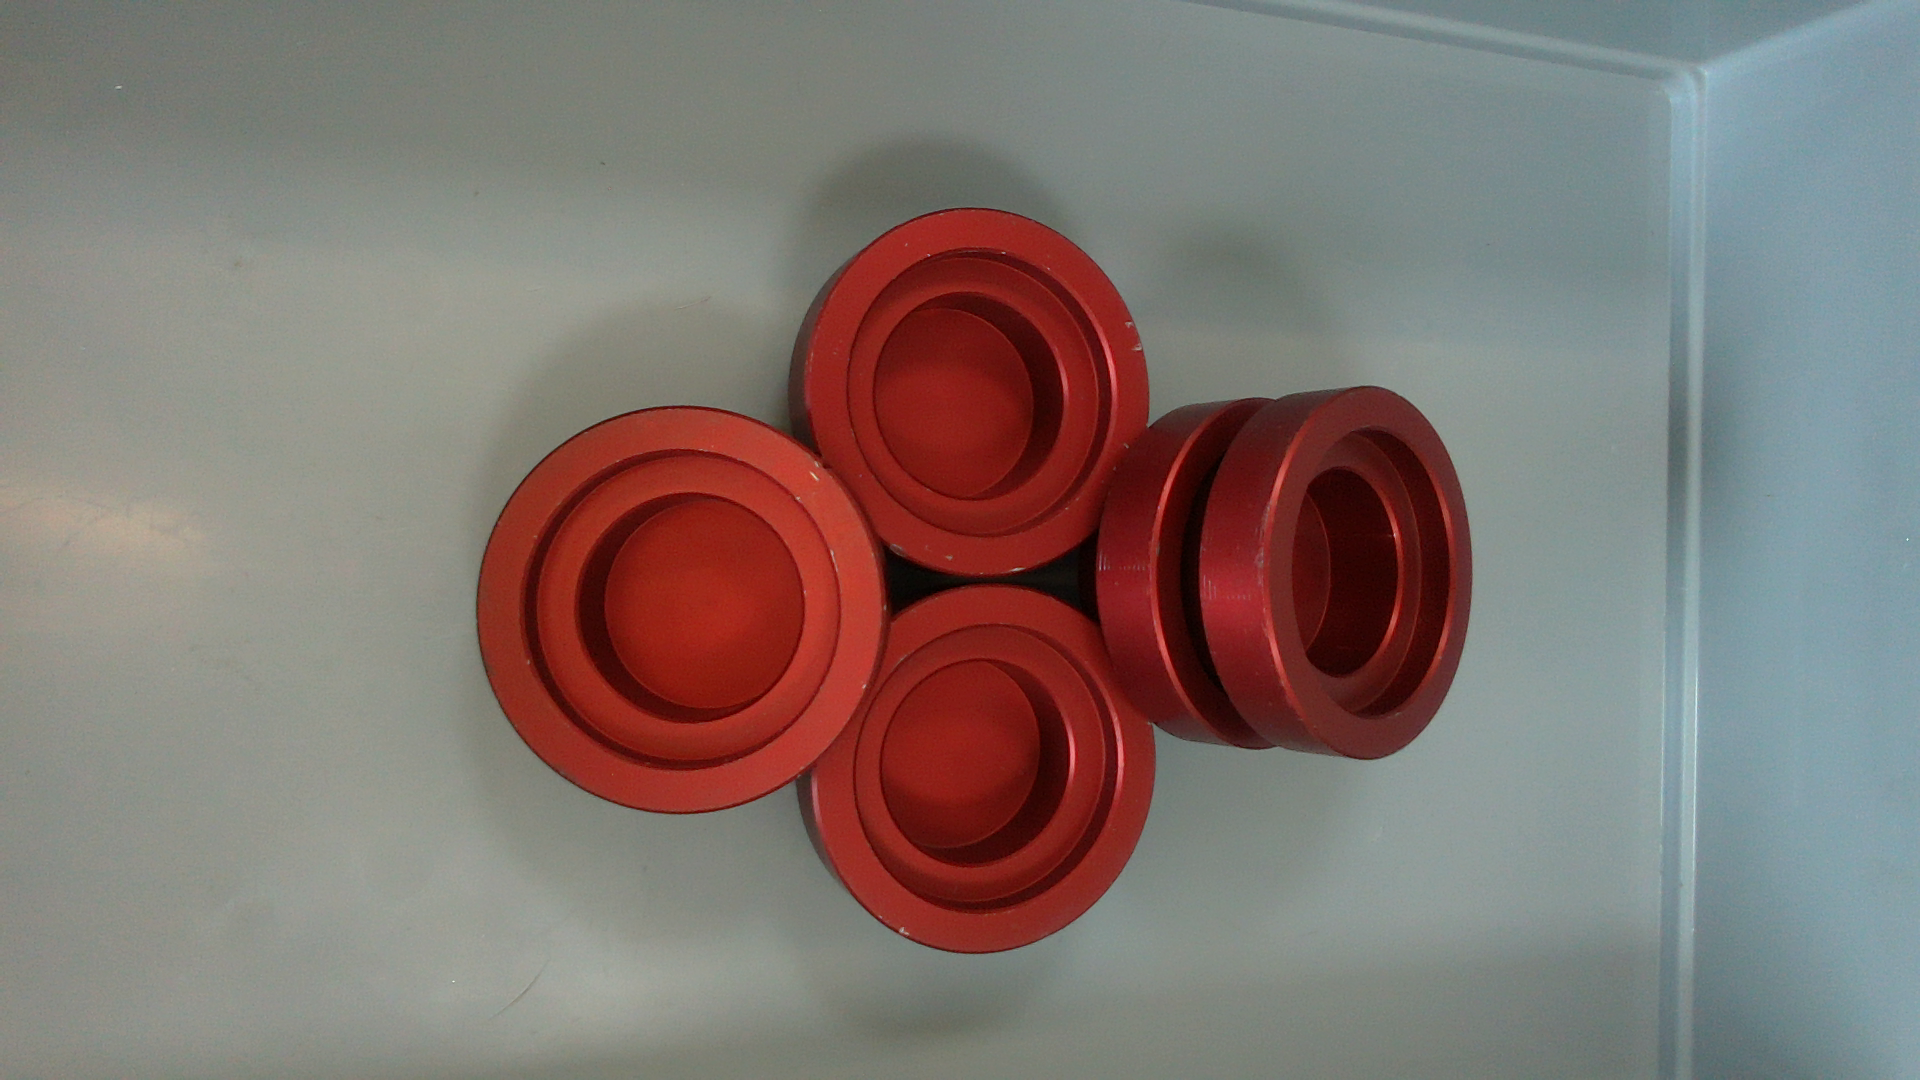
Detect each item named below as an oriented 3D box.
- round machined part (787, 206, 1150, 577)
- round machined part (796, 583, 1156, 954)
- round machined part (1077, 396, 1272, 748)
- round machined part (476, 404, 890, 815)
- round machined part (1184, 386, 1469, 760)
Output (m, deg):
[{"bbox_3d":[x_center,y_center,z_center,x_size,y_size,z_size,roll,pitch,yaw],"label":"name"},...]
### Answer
[{"bbox_3d":[0.000,-0.039,0.382,0.098,0.042,0.098,0,90,-20],"label":"round machined part"},{"bbox_3d":[0.001,0.060,0.383,0.098,0.042,0.098,0,90,-20],"label":"round machined part"},{"bbox_3d":[0.072,0.009,0.398,0.098,0.042,0.098,1,89,-42],"label":"round machined part"},{"bbox_3d":[-0.066,0.017,0.348,0.098,0.042,0.098,0,90,1],"label":"round machined part"},{"bbox_3d":[0.096,0.009,0.377,0.098,0.042,0.098,0,90,-42],"label":"round machined part"}]
